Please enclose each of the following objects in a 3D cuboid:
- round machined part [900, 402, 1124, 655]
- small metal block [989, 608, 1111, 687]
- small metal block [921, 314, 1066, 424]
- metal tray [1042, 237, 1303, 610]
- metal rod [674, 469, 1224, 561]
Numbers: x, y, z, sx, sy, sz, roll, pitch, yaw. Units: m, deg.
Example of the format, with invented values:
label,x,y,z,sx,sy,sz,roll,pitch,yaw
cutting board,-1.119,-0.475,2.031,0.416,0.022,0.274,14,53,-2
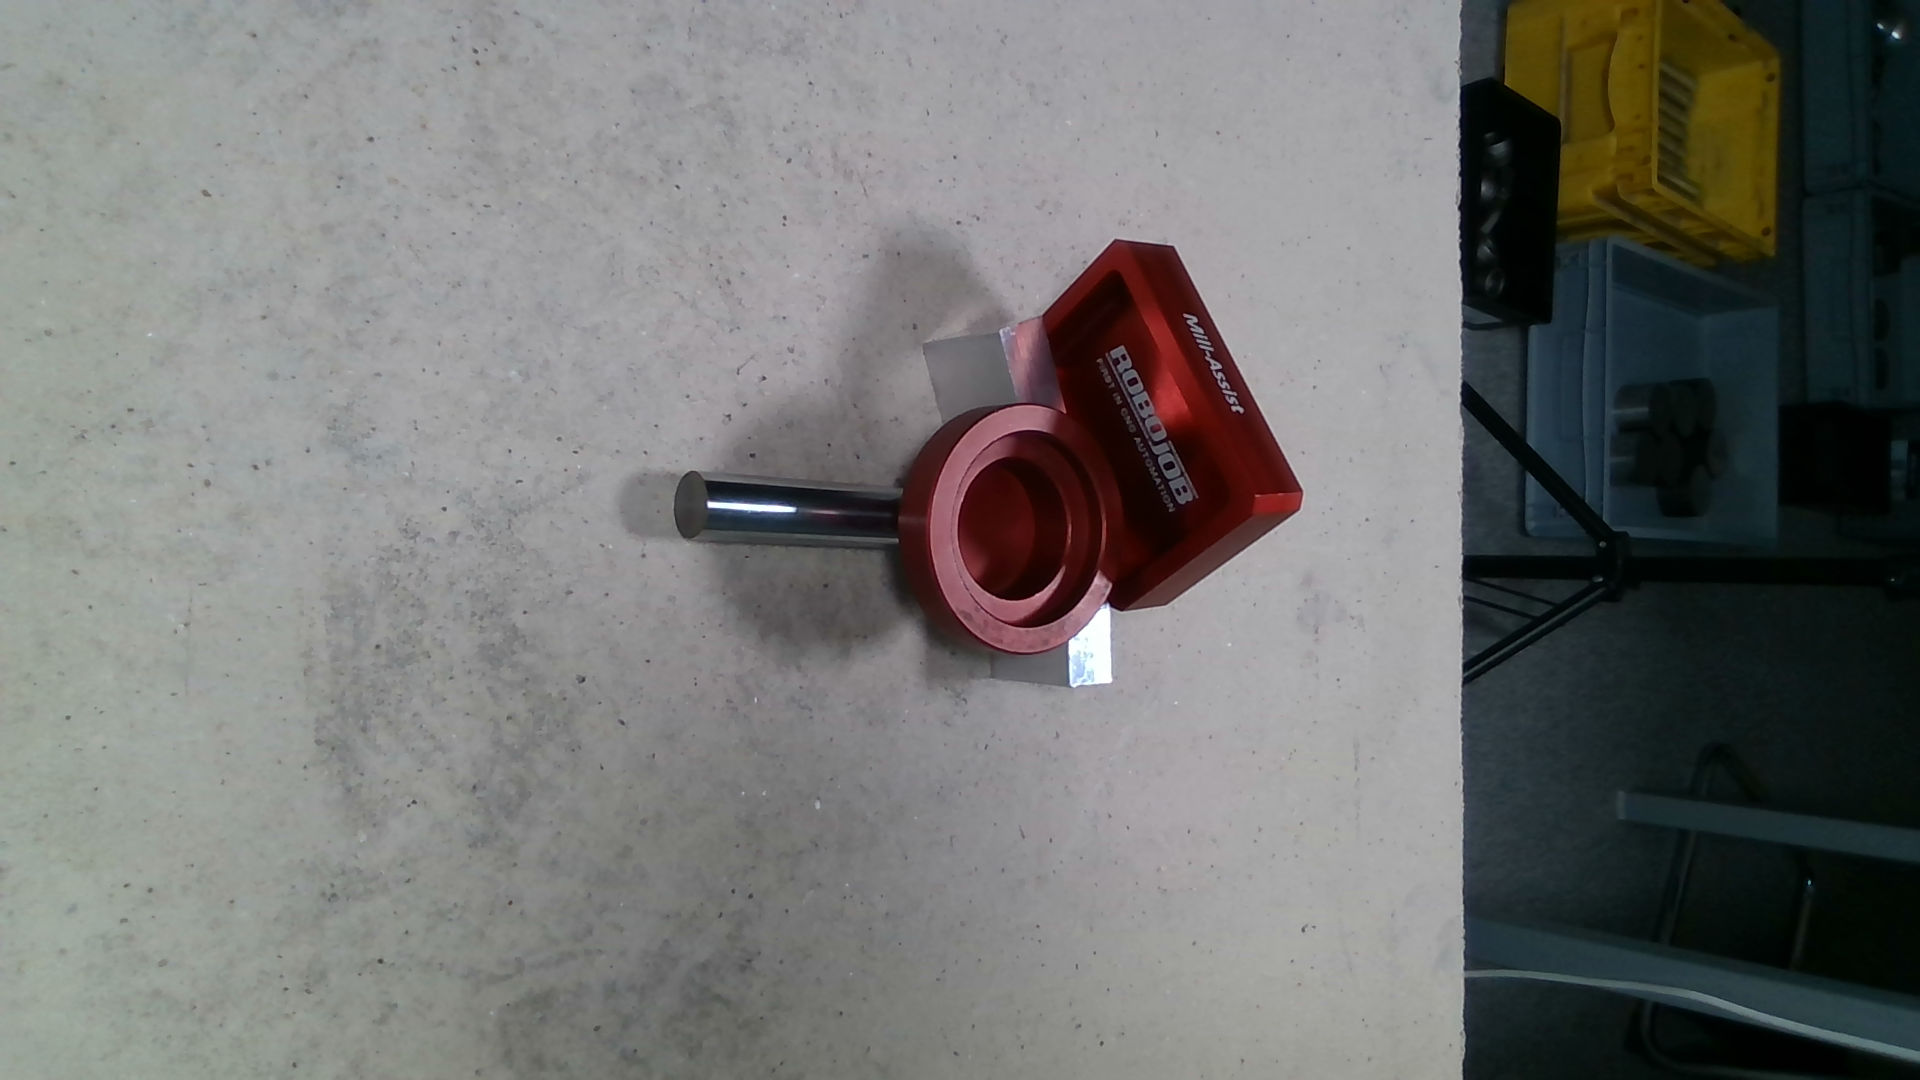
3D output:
label,x,y,z,sx,sy,sz,roll,pitch,yaw
round machined part,0.016,-0.005,0.549,0.098,0.042,0.098,-2,93,-37
small metal block,0.038,0.036,0.599,0.025,0.050,0.050,-2,91,-40
small metal block,0.015,-0.065,0.579,0.025,0.050,0.050,-25,106,-38
metal tray,0.075,-0.048,0.574,0.030,0.090,0.130,-5,64,-41
metal rod,0.016,-0.007,0.597,0.300,0.025,0.025,3,88,-40
